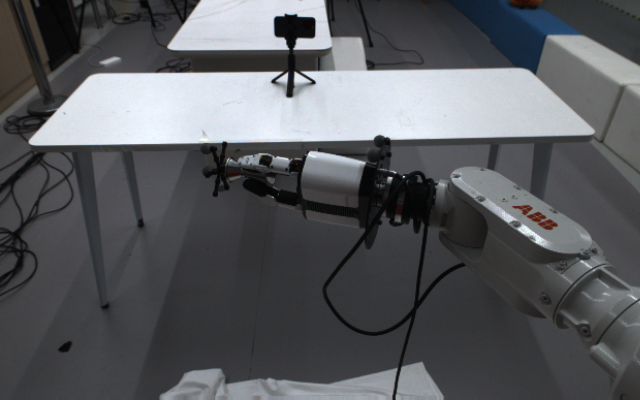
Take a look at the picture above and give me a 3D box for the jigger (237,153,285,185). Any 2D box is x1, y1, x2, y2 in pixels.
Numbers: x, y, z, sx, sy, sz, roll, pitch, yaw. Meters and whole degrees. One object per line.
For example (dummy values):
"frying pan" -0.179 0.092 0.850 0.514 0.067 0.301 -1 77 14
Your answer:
"jigger" -0.098 -0.047 0.738 0.071 0.043 0.043 5 34 14
